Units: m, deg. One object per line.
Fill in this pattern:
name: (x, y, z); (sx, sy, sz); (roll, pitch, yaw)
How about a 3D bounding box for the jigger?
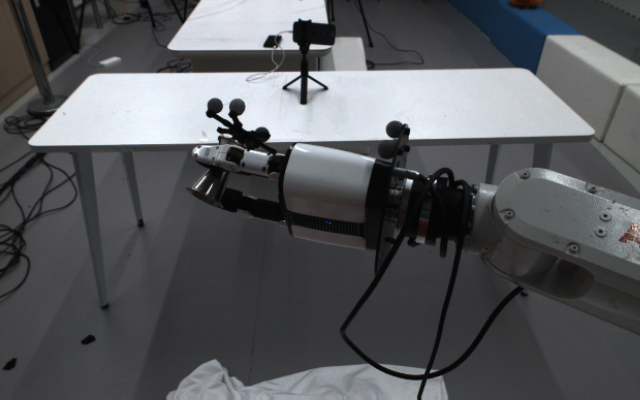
jigger: (-0.109, -0.032, 0.524); (0.043, 0.043, 0.071); (20, 74, 24)
